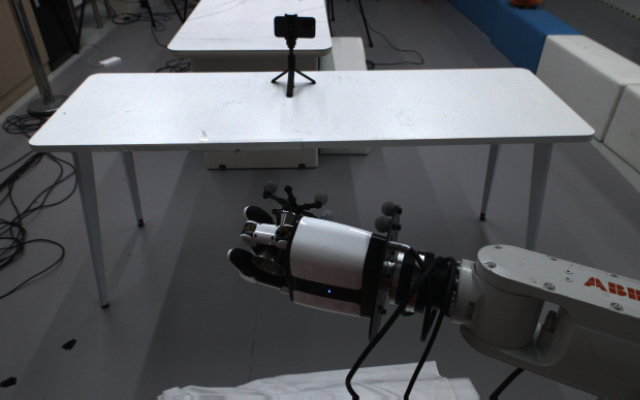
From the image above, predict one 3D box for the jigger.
[{"bbox_3d":[-0.045,0.052,0.582,0.043,0.043,0.071,13,58,16],"label":"jigger"}]
